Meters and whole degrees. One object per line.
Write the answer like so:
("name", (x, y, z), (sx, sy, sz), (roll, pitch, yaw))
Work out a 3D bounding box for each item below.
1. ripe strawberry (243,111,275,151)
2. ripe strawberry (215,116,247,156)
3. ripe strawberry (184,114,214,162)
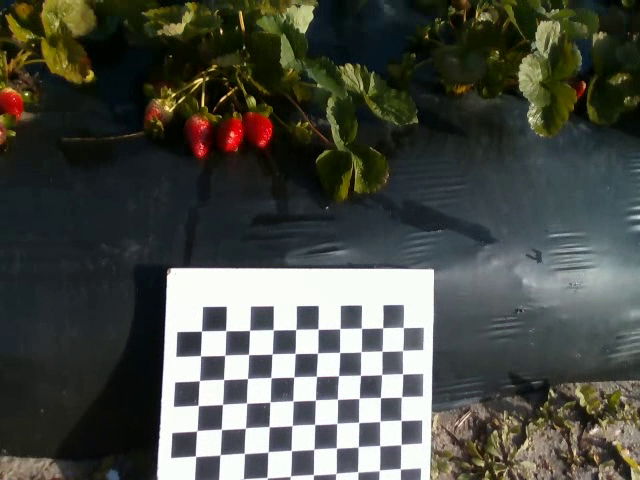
("ripe strawberry", (-0.061, -0.100, 0.675), (0.035, 0.034, 0.041), (-4, 37, -15))
("ripe strawberry", (-0.088, -0.101, 0.664), (0.030, 0.037, 0.039), (11, 20, -13))
("ripe strawberry", (-0.117, -0.099, 0.663), (0.031, 0.046, 0.023), (0, -18, -14))
